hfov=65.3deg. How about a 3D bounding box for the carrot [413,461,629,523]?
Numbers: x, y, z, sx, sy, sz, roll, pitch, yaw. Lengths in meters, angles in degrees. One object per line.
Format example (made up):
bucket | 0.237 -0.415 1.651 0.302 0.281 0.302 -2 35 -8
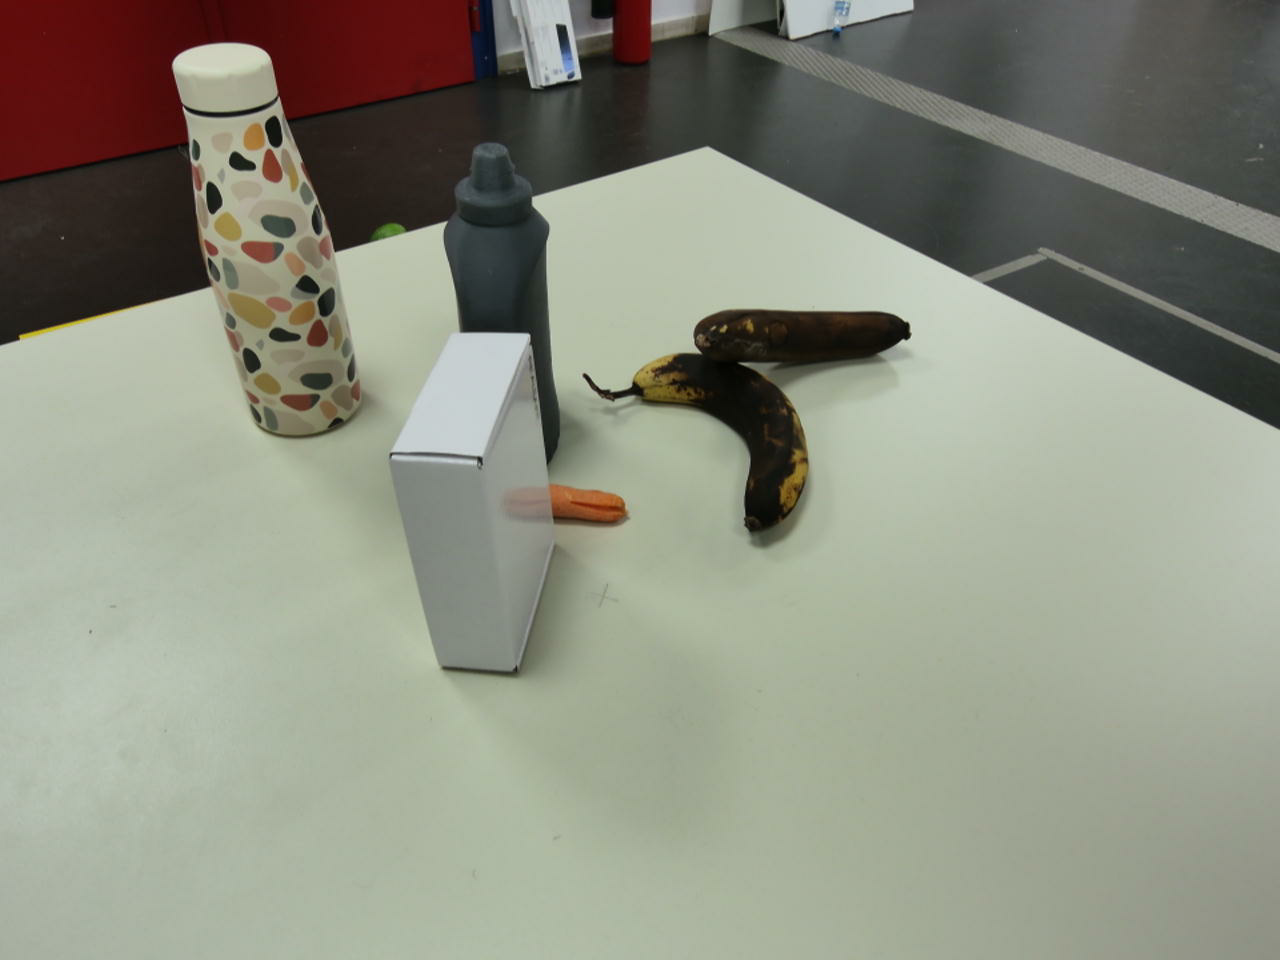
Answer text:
carrot | -0.075 0.008 0.621 0.136 0.032 0.030 5 38 7
